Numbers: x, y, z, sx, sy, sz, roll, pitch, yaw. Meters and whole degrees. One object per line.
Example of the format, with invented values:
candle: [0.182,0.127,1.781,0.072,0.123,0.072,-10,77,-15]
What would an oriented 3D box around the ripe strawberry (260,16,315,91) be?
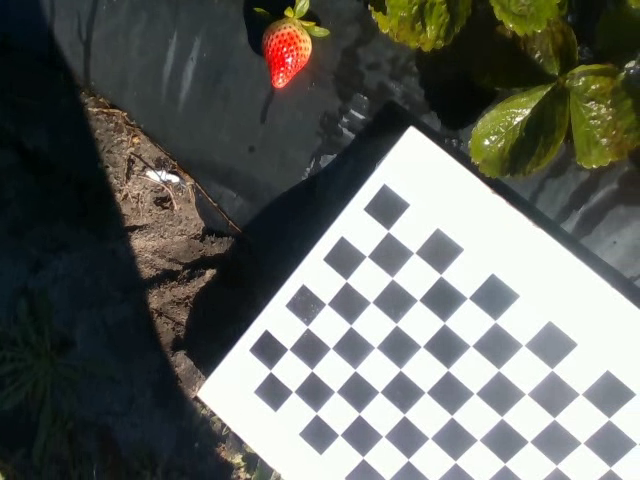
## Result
ripe strawberry: [-0.023,-0.127,0.408,0.039,0.053,0.040,19,-4,13]
